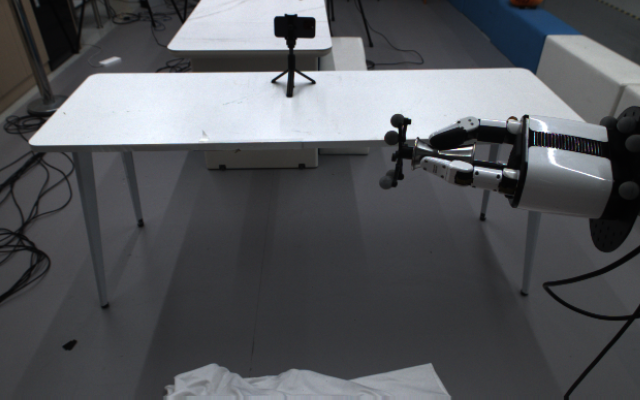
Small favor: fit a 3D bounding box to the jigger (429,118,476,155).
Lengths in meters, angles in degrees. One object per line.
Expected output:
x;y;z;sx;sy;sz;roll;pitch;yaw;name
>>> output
0.149;-0.056;0.572;0.071;0.043;0.043;8;35;17;jigger
